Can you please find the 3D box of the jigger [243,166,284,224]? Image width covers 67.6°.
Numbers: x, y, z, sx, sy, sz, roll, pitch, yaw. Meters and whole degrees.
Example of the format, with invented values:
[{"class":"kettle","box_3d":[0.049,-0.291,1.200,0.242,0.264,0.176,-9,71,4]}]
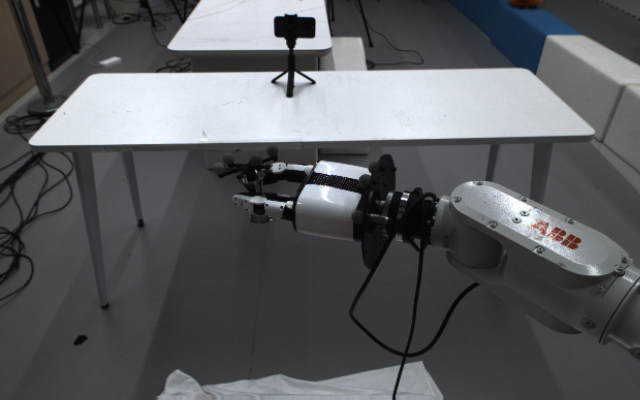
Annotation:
[{"class":"jigger","box_3d":[-0.092,-0.003,0.721,0.043,0.071,0.043,-12,24,5]}]
